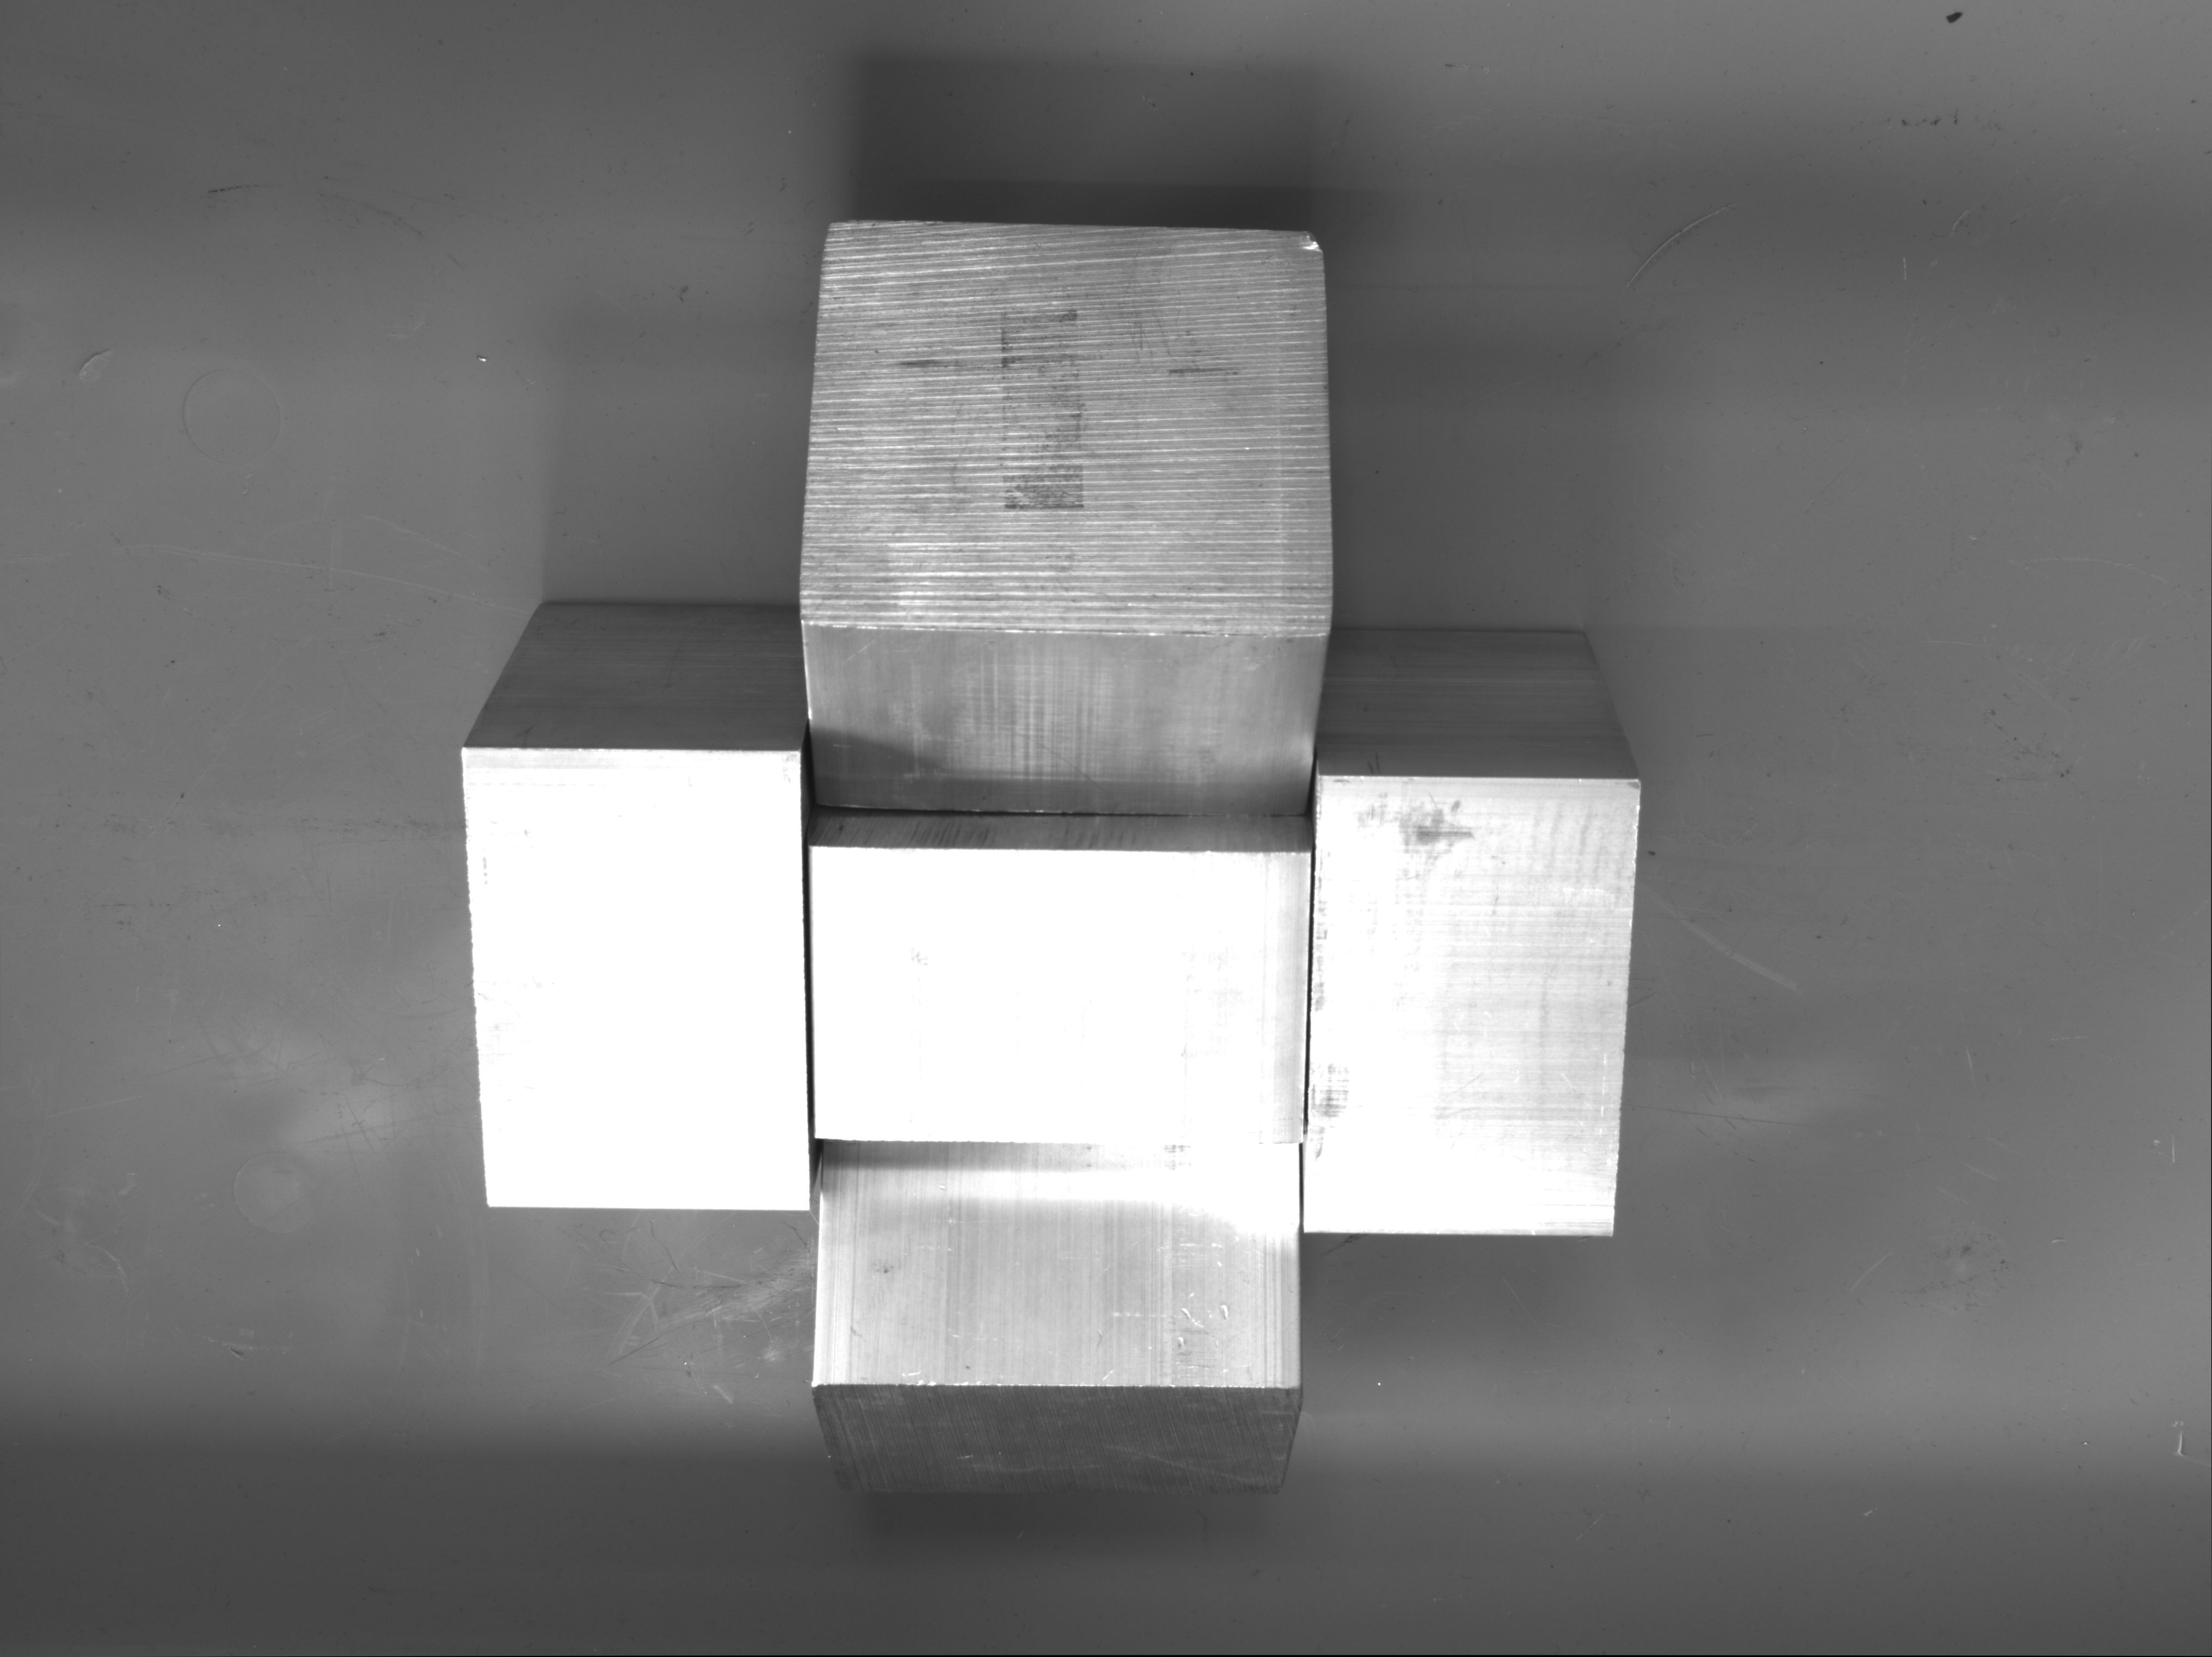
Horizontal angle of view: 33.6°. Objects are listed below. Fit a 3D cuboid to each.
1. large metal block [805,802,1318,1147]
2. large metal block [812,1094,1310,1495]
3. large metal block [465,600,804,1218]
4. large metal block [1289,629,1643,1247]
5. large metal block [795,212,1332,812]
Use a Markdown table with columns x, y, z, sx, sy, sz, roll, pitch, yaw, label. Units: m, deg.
| x | y | z | sx | sy | sz | roll | pitch | yaw | label |
| --- | --- | --- | --- | --- | --- | --- | --- | --- | --- |
| -0.007 | 0.014 | 0.618 | 0.080 | 0.080 | 0.050 | 1 | 110 | 0 | large metal block |
| -0.008 | 0.082 | 0.636 | 0.080 | 0.080 | 0.050 | 0 | 68 | -1 | large metal block |
| -0.074 | 0.012 | 0.617 | 0.050 | 0.080 | 0.080 | 1 | 110 | 0 | large metal block |
| 0.058 | 0.016 | 0.620 | 0.050 | 0.080 | 0.080 | 1 | 110 | 0 | large metal block |
| -0.006 | -0.051 | 0.588 | 0.080 | 0.080 | 0.050 | 2 | 148 | -1 | large metal block |
